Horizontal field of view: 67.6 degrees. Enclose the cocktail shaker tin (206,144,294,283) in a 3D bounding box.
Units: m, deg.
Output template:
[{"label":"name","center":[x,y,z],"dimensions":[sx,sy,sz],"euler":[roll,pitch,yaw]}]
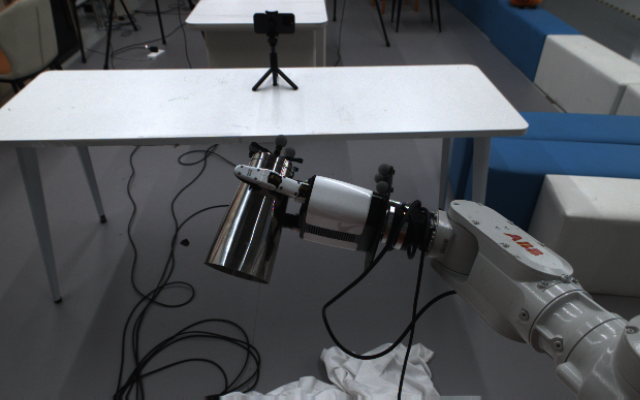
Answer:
[{"label":"cocktail shaker tin","center":[-0.090,0.020,0.683],"dimensions":[0.093,0.093,0.170],"euler":[12,72,14]}]
